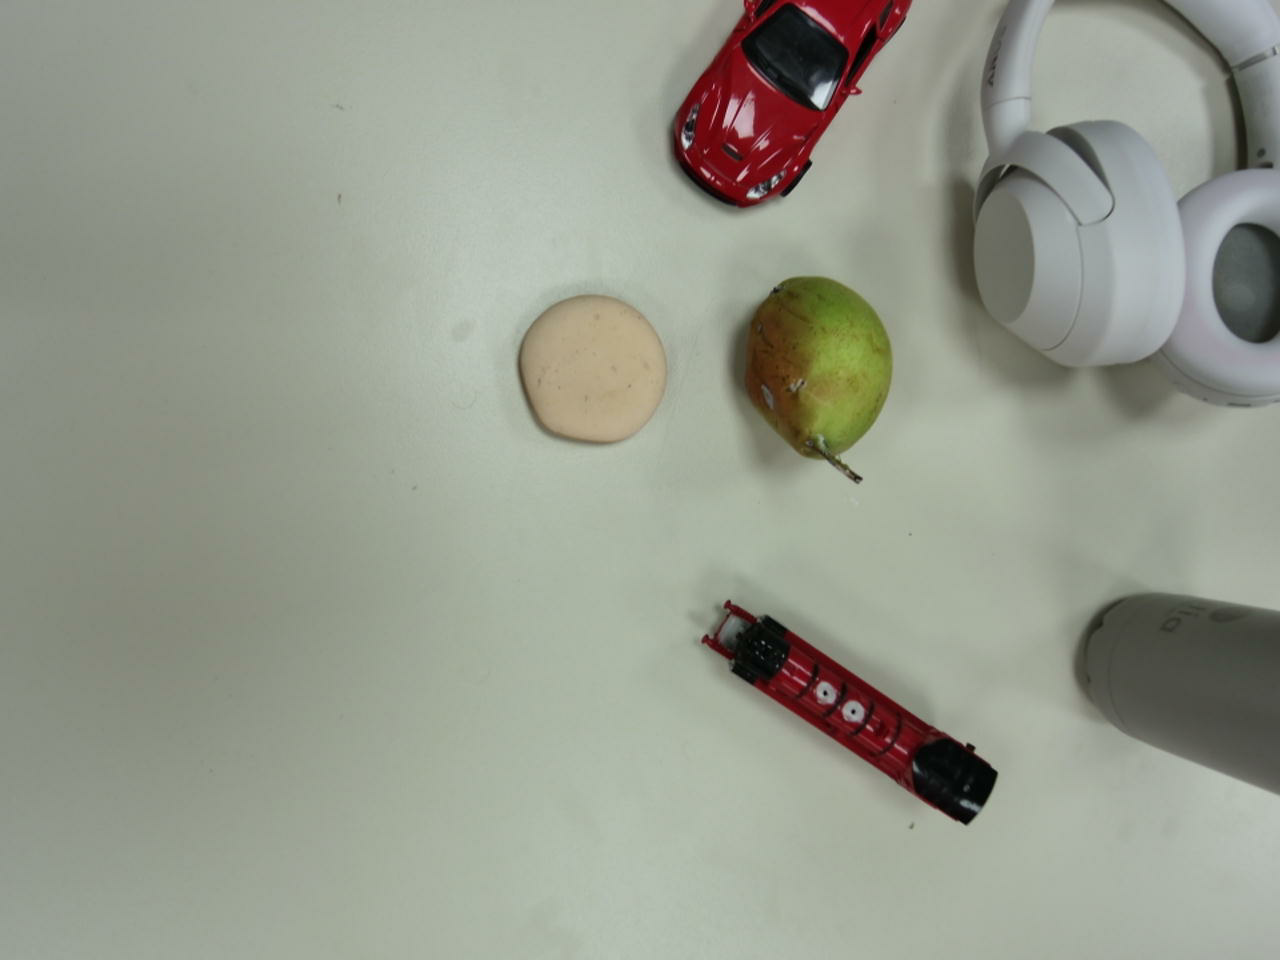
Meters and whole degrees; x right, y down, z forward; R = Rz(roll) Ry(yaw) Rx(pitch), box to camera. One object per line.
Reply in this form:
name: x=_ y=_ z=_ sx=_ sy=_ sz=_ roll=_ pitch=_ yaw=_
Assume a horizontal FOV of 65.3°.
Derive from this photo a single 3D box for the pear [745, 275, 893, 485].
pear: x=0.073 y=-0.047 z=0.416 sx=0.068 sy=0.069 sz=0.070 roll=41 pitch=83 yaw=-9
